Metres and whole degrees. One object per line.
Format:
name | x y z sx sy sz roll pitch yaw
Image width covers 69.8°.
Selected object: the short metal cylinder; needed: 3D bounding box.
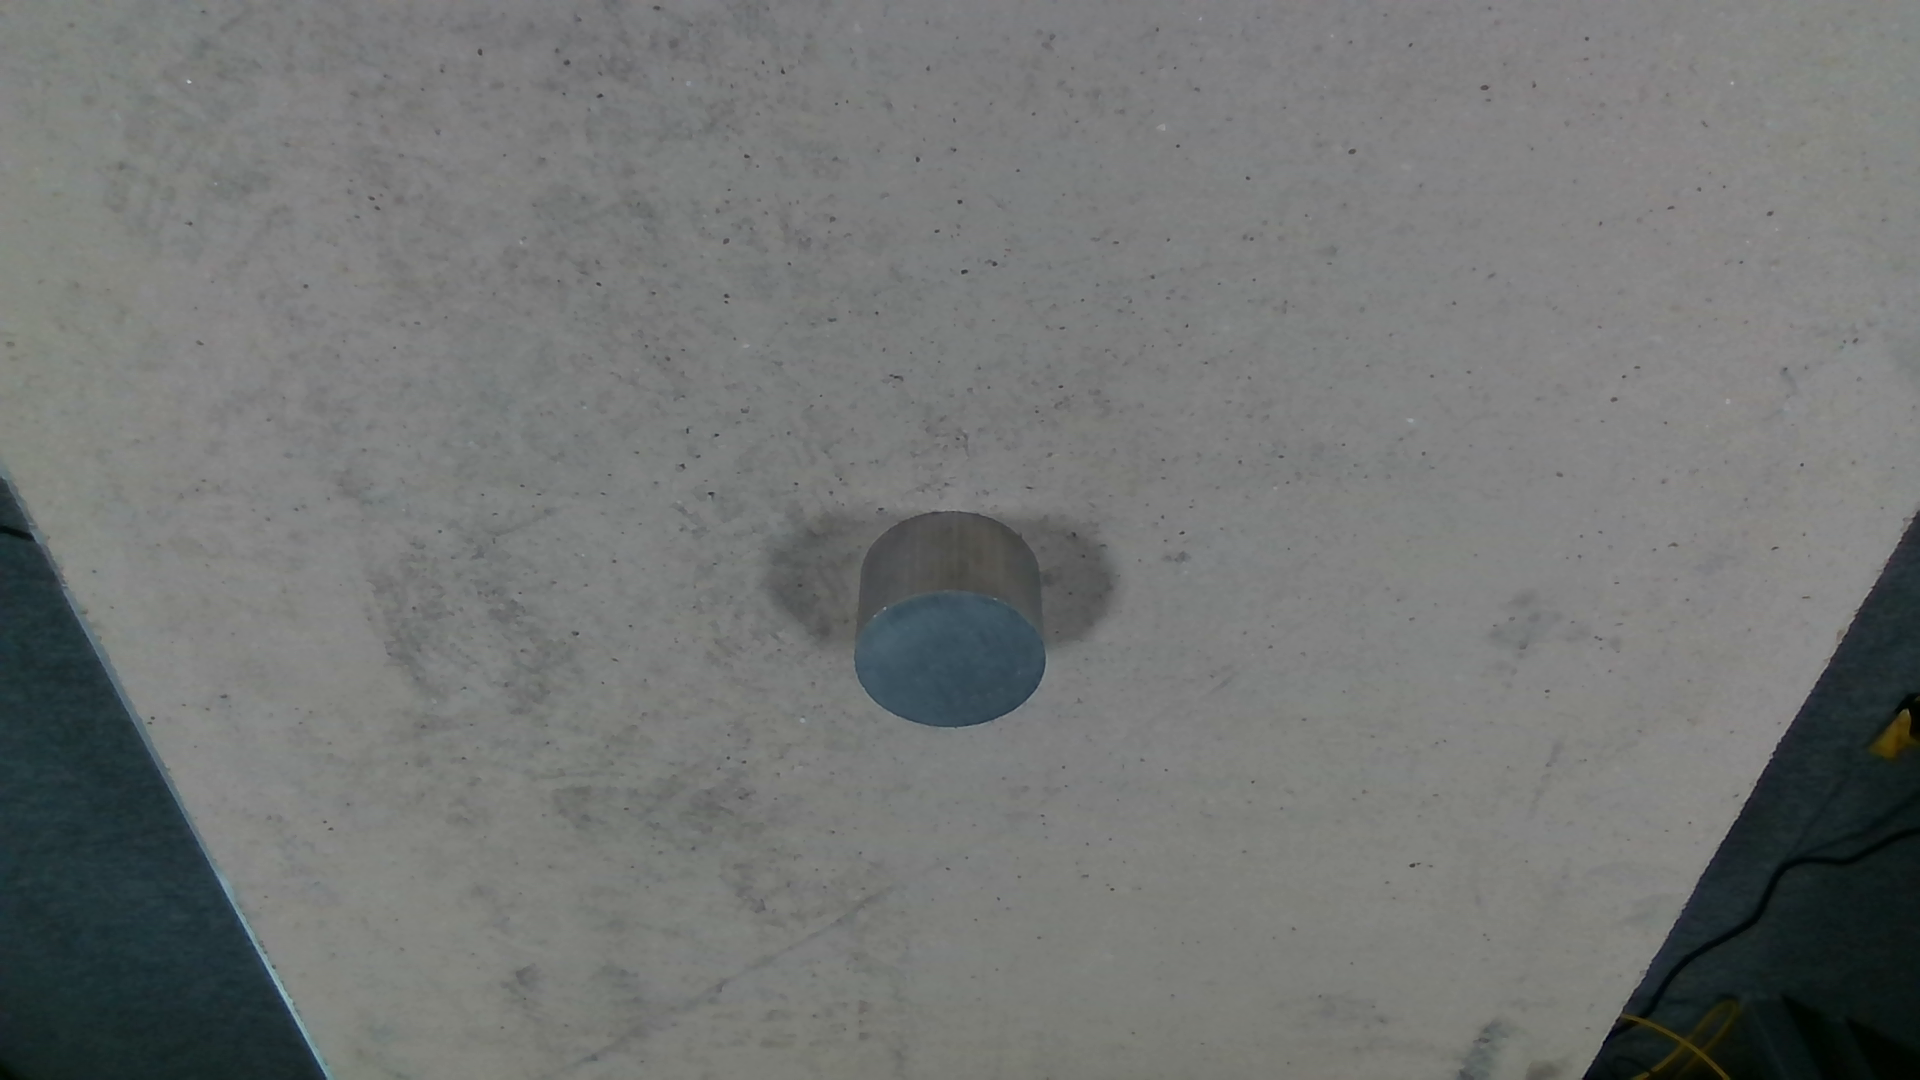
short metal cylinder | -0.004 0.034 0.592 0.080 0.050 0.080 0 130 0
